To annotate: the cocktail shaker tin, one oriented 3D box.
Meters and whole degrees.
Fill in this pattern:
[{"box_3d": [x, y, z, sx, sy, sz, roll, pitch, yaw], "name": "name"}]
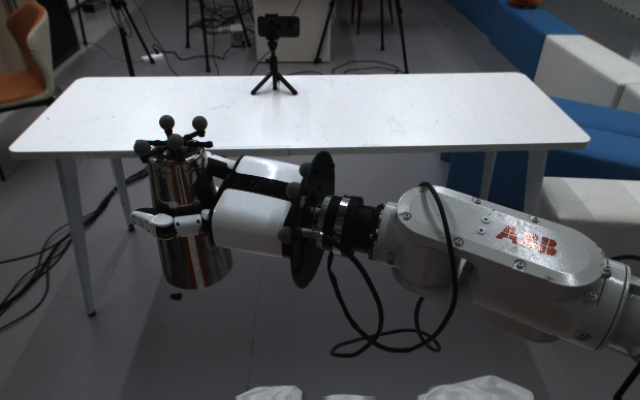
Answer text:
[{"box_3d": [-0.161, 0.015, 0.596, 0.093, 0.170, 0.093, -1, 33, 1], "name": "cocktail shaker tin"}]
